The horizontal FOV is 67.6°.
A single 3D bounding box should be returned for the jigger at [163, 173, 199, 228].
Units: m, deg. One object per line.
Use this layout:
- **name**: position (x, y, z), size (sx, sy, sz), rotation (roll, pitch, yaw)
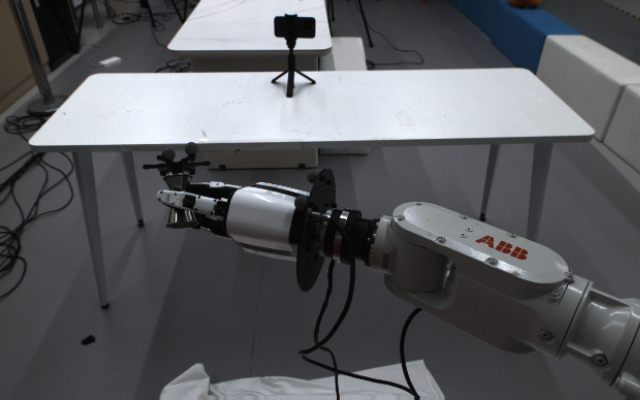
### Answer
- **jigger**: position (-0.189, 0.002, 0.659), size (0.043, 0.043, 0.071), rotation (-7, 79, -12)
